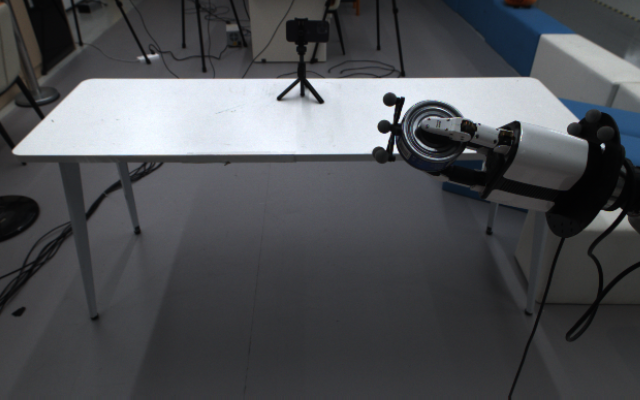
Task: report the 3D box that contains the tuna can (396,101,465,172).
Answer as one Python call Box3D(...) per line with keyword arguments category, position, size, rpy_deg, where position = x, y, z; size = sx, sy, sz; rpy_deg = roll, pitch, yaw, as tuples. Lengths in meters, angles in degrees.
Box3D(category="tuna can", position=(0.141, -0.084, 0.610), size=(0.085, 0.034, 0.085), rpy_deg=(2, 73, -6))
